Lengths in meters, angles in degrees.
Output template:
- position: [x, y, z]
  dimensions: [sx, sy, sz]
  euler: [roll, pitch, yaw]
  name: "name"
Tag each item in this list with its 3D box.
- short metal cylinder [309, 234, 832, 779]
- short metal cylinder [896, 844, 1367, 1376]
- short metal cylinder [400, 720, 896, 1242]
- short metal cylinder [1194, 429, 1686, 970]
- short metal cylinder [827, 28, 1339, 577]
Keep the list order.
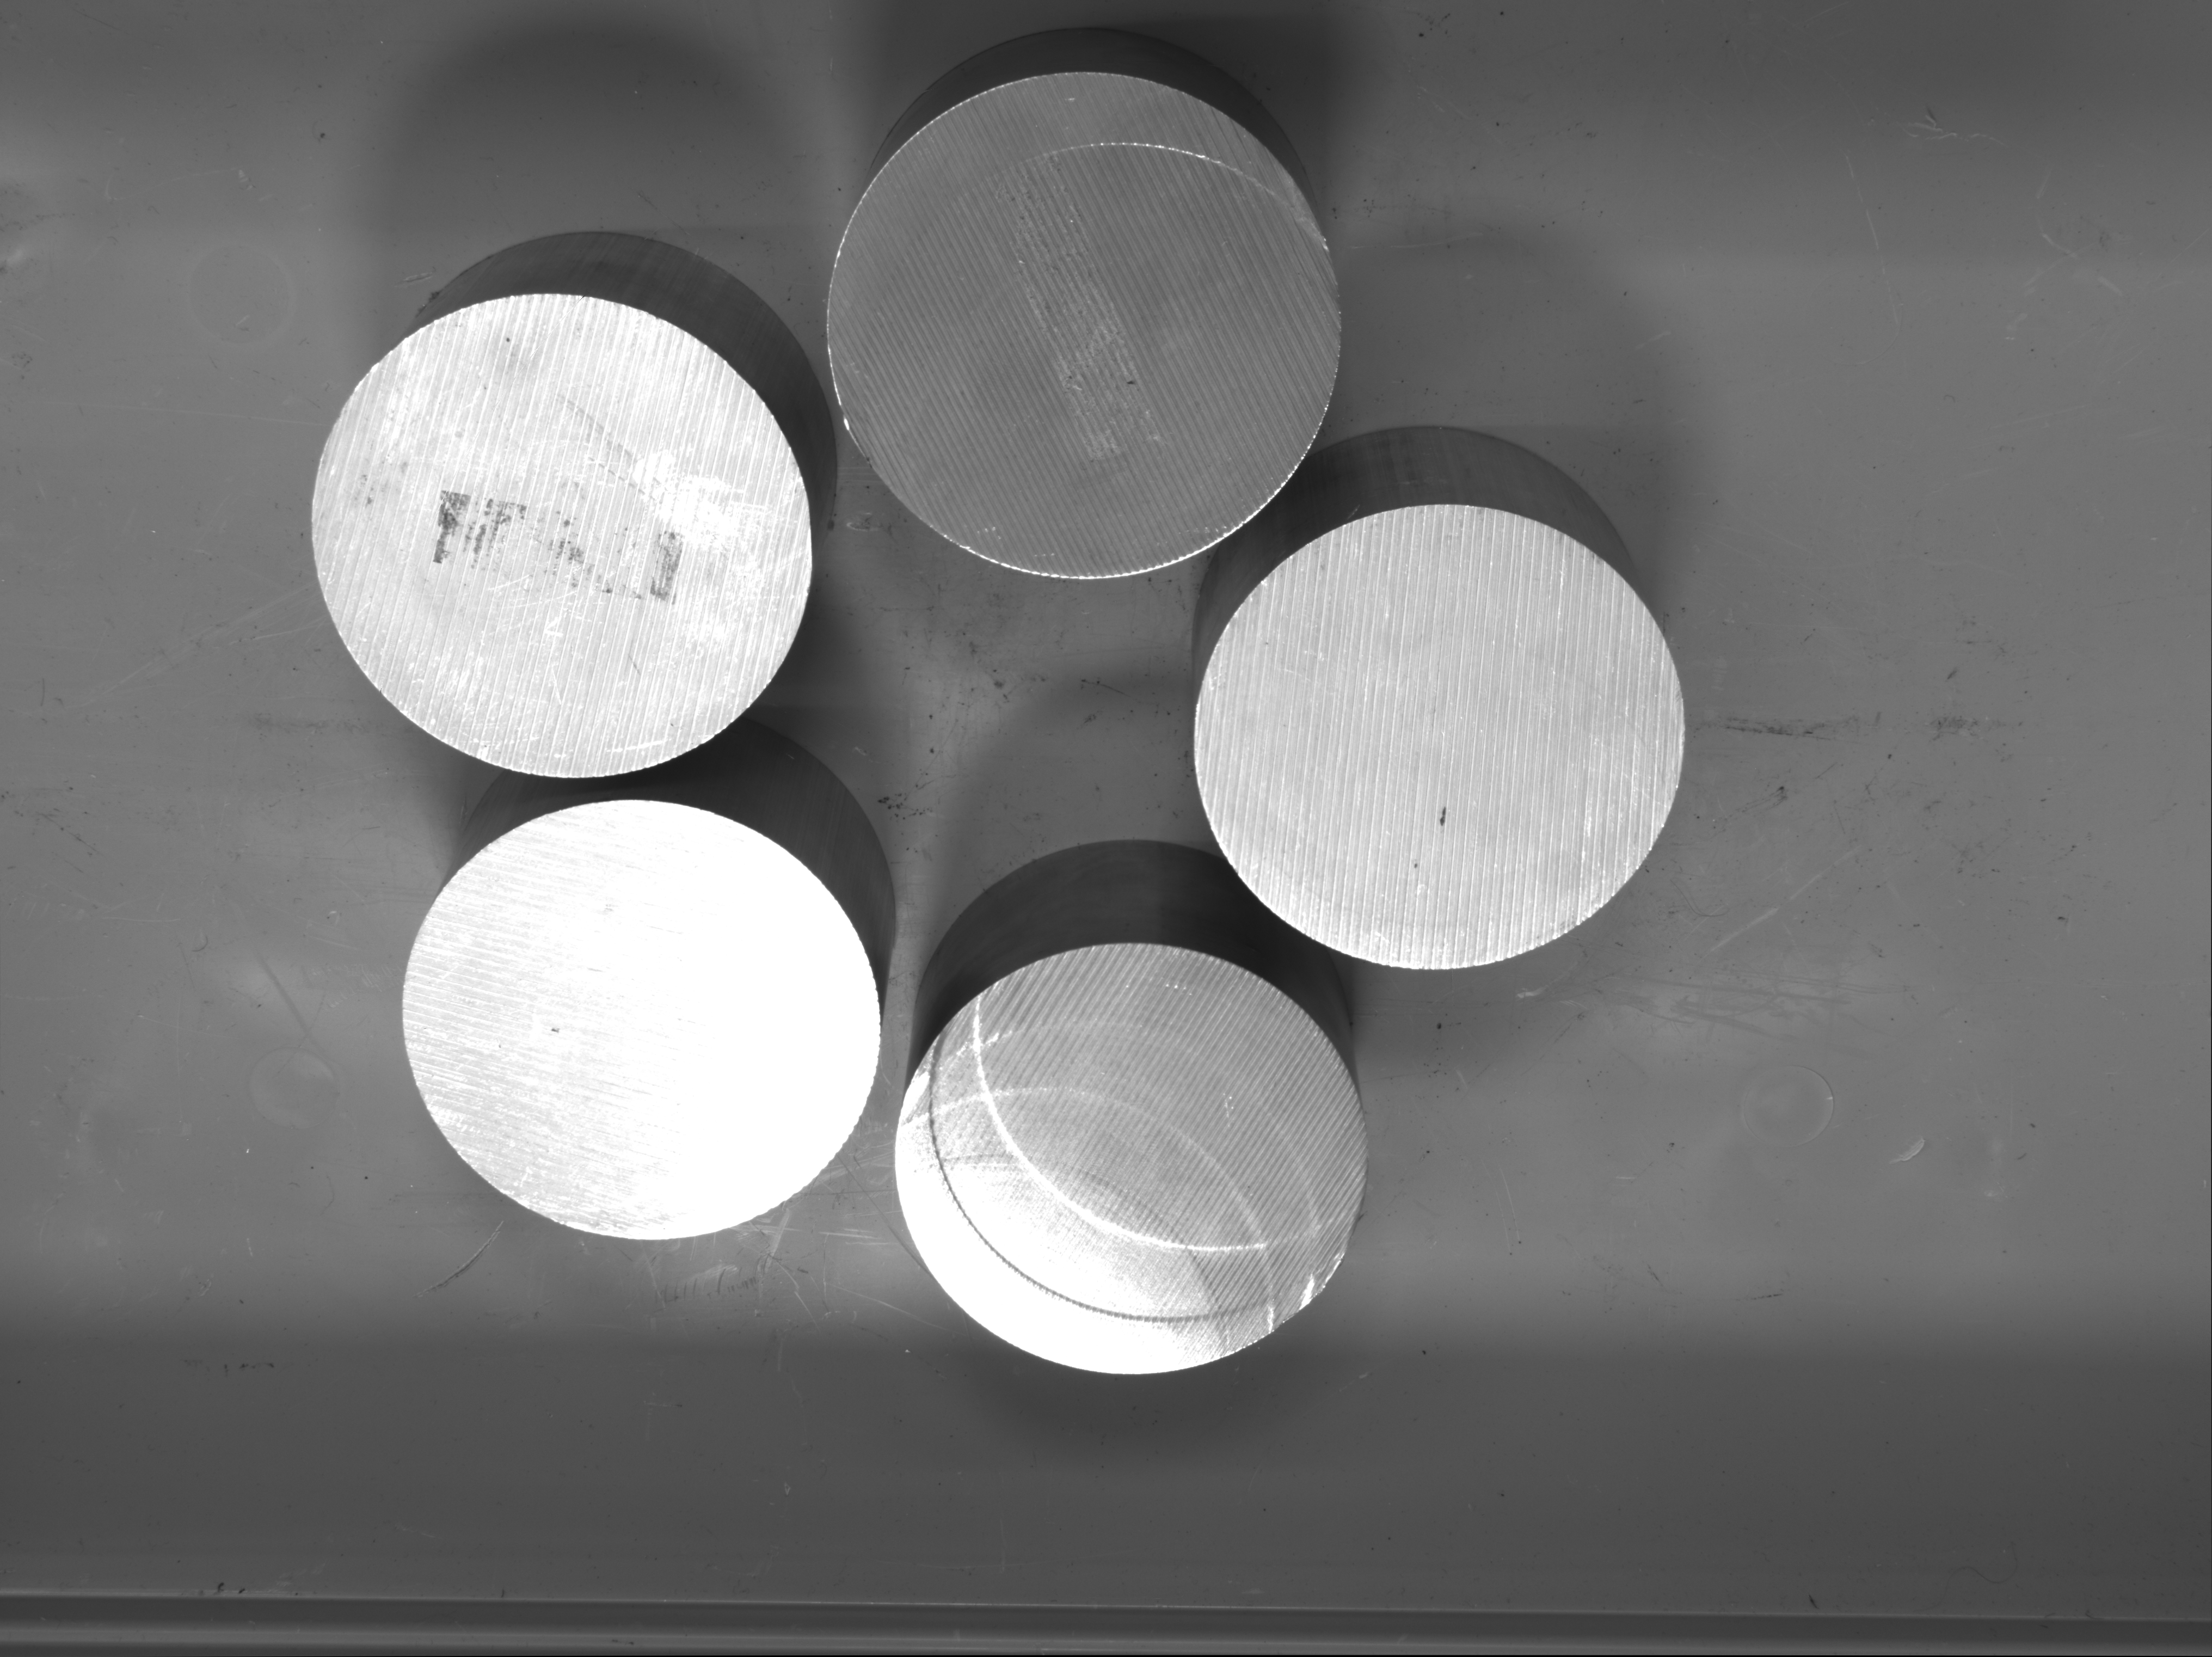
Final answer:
- position: [-0.087, -0.054, 0.608]
  dimensions: [0.080, 0.050, 0.080]
  euler: [0, 110, 0]
  name: "short metal cylinder"
- position: [0.005, 0.049, 0.646]
  dimensions: [0.080, 0.050, 0.080]
  euler: [0, 110, 0]
  name: "short metal cylinder"
- position: [-0.078, 0.025, 0.637]
  dimensions: [0.080, 0.050, 0.080]
  euler: [0, 110, 0]
  name: "short metal cylinder"
- position: [0.054, -0.023, 0.620]
  dimensions: [0.080, 0.050, 0.080]
  euler: [0, 110, 0]
  name: "short metal cylinder"
- position: [-0.003, -0.086, 0.597]
  dimensions: [0.080, 0.050, 0.080]
  euler: [0, 110, 0]
  name: "short metal cylinder"
